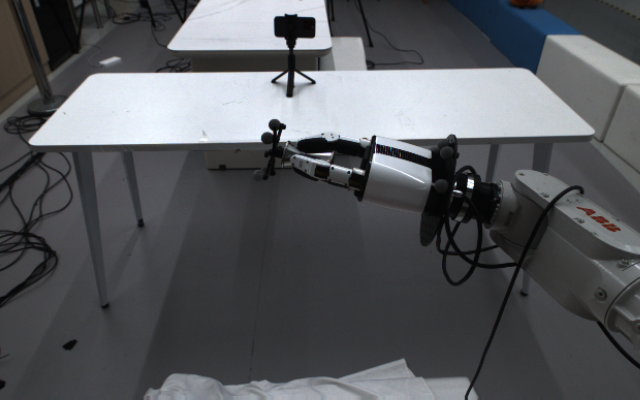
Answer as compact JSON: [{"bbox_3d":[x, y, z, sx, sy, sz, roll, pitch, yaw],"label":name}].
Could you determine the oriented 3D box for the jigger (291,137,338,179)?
[{"bbox_3d":[-0.010,-0.059,0.682,0.071,0.043,0.043,14,36,4],"label":"jigger"}]
